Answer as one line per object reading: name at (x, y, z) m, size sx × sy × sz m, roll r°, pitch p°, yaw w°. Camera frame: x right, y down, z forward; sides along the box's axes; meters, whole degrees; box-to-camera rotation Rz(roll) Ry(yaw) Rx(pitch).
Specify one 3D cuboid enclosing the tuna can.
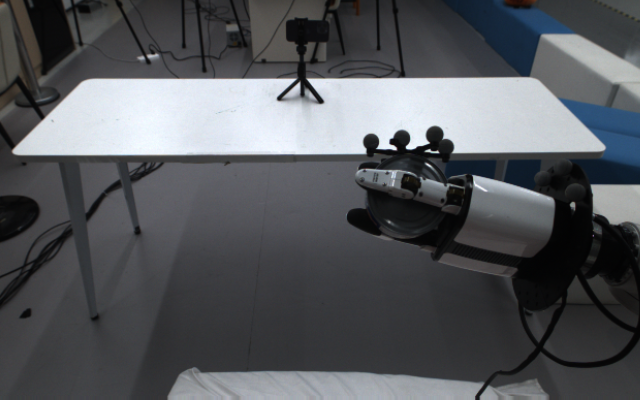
tuna can at (0.091, -0.006, 0.506) m, size 0.085 × 0.034 × 0.085 m, roll 0°, pitch 74°, yaw 1°
